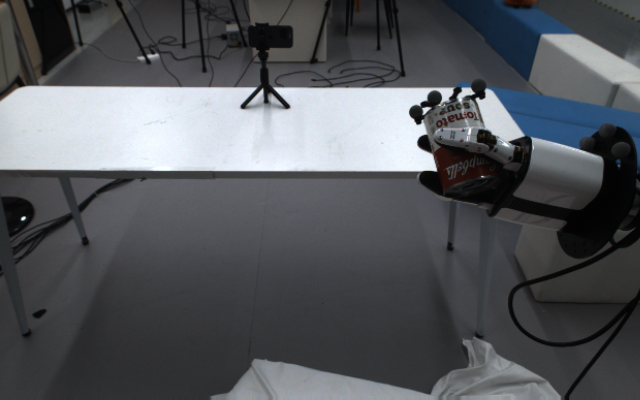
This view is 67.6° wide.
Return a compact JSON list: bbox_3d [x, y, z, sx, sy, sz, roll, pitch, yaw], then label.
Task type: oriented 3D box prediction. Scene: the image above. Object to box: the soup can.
[{"bbox_3d":[0.169,-0.062,0.578,0.067,0.067,0.101,-8,74,-14],"label":"soup can"}]
